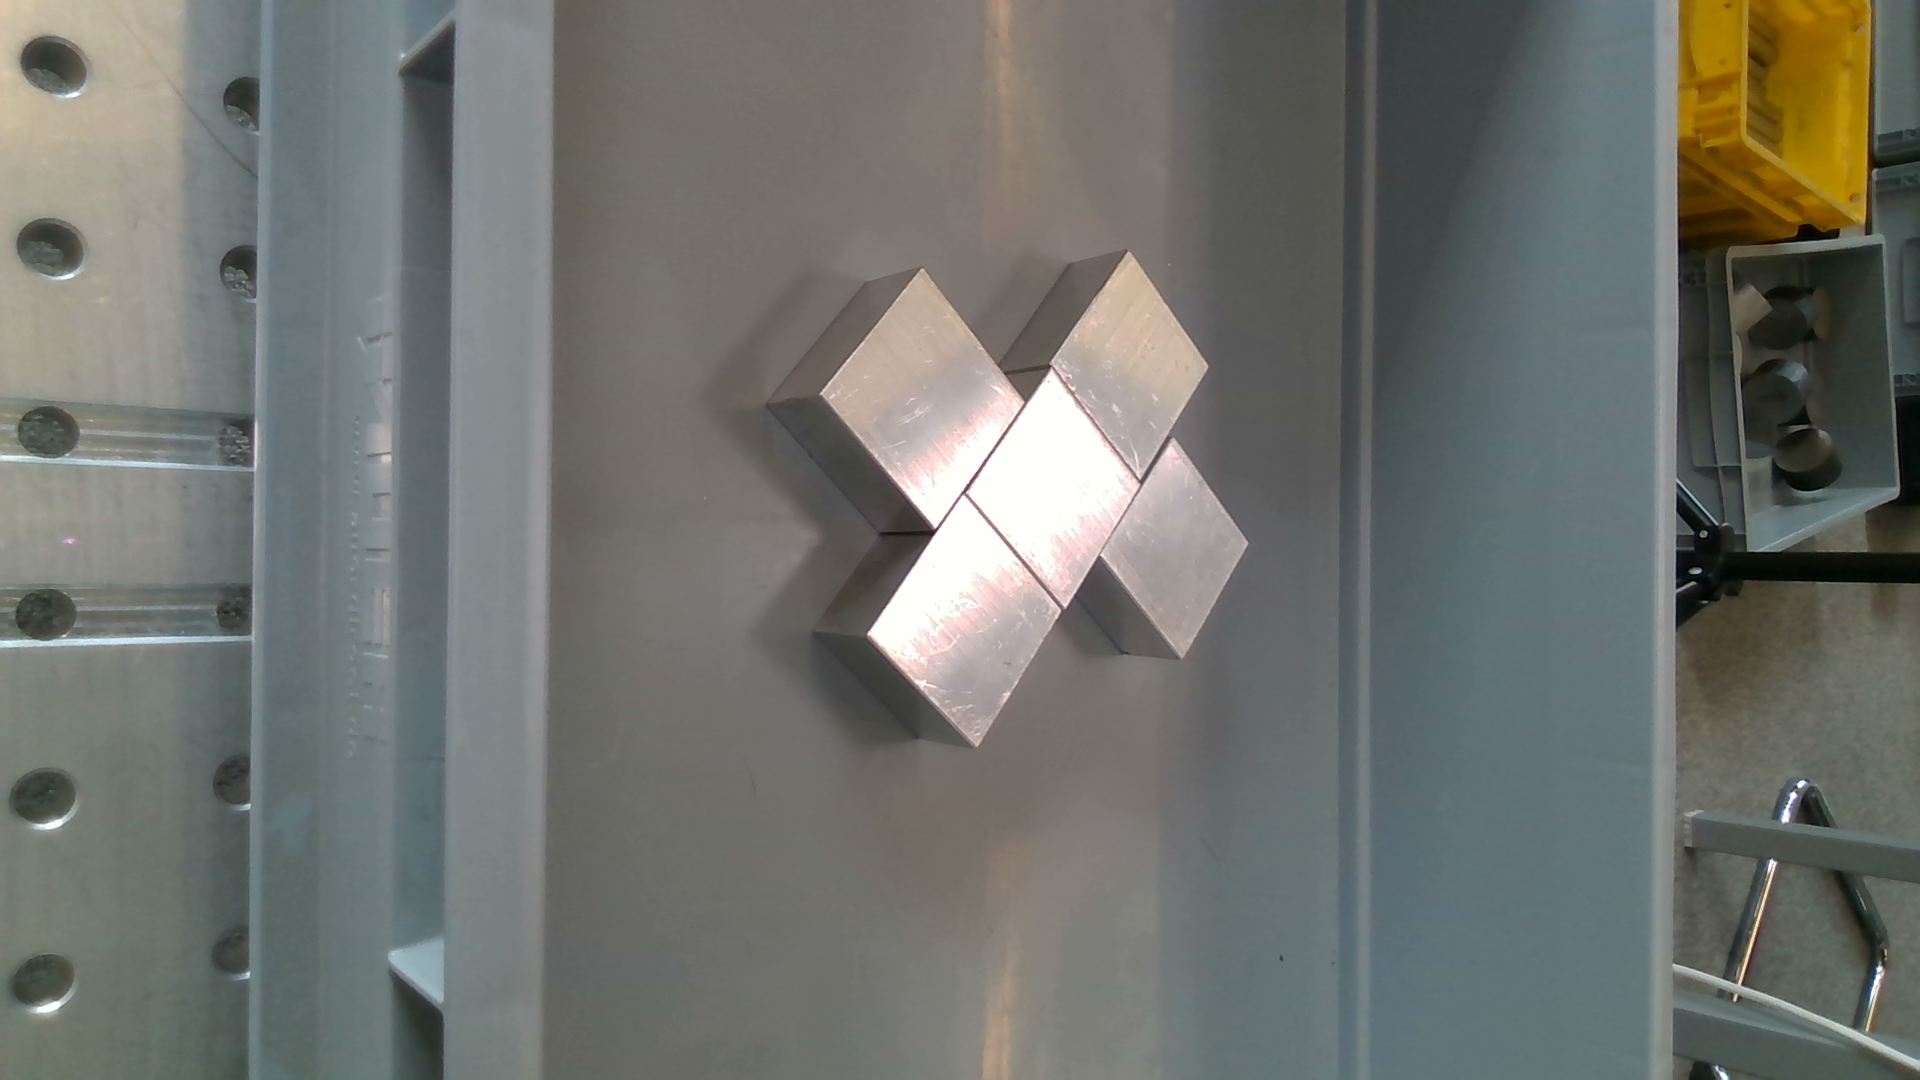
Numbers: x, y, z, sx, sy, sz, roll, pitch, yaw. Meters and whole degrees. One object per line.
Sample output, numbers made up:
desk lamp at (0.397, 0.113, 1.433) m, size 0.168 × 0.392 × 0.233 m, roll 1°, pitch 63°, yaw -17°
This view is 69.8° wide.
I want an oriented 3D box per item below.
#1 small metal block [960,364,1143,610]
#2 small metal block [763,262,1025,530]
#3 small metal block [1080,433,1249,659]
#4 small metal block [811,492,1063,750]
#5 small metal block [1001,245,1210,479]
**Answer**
small metal block at (0.021, -0.015, 0.406) m, size 0.050 × 0.025 × 0.050 m, roll 49°, pitch 61°, yaw -29°
small metal block at (-0.017, -0.038, 0.375) m, size 0.050 × 0.025 × 0.050 m, roll 50°, pitch 60°, yaw -28°
small metal block at (0.060, 0.002, 0.440) m, size 0.050 × 0.025 × 0.050 m, roll 50°, pitch 61°, yaw -30°
small metal block at (-0.005, 0.022, 0.385) m, size 0.050 × 0.025 × 0.050 m, roll 49°, pitch 61°, yaw -29°
small metal block at (0.045, -0.054, 0.427) m, size 0.050 × 0.025 × 0.050 m, roll 49°, pitch 61°, yaw -29°
